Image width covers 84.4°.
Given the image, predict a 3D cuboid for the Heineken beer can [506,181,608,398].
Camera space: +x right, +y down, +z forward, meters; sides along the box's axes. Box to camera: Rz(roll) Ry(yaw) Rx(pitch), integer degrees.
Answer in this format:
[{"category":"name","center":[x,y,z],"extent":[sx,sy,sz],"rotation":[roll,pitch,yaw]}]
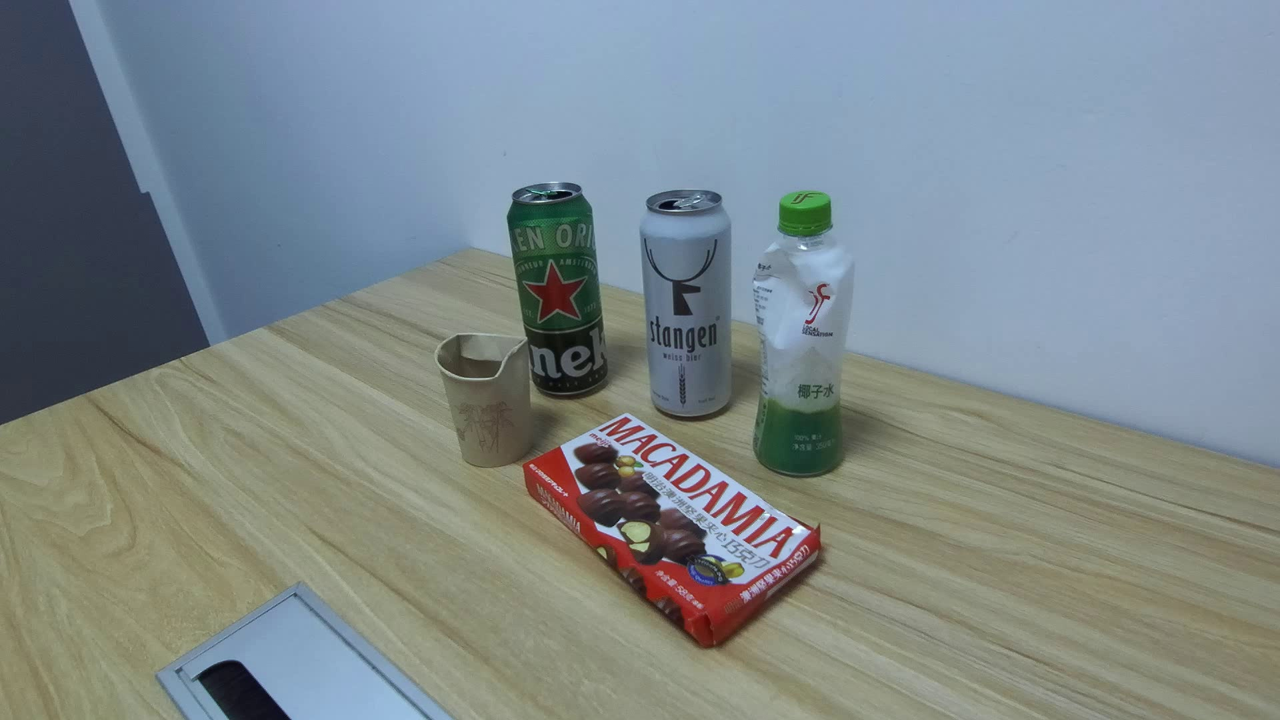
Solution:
[{"category":"Heineken beer can","center":[-0.065,-0.054,0.582],"extent":[0.067,0.169,0.067],"rotation":[-3,28,2]}]

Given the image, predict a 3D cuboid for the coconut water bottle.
[{"category":"coconut water bottle","center":[0.107,-0.015,0.462],"extent":[0.069,0.187,0.069],"rotation":[-3,29,2]}]

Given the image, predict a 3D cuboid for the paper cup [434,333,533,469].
[{"category":"paper cup","center":[-0.115,0.031,0.521],"extent":[0.066,0.084,0.071],"rotation":[5,29,15]}]

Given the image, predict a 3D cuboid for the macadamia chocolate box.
[{"category":"macadamia chocolate box","center":[0.013,0.096,0.446],"extent":[0.106,0.028,0.182],"rotation":[-25,36,-34]}]

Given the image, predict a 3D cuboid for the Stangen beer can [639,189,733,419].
[{"category":"Stangen beer can","center":[0.037,-0.040,0.538],"extent":[0.067,0.171,0.067],"rotation":[-3,29,2]}]
